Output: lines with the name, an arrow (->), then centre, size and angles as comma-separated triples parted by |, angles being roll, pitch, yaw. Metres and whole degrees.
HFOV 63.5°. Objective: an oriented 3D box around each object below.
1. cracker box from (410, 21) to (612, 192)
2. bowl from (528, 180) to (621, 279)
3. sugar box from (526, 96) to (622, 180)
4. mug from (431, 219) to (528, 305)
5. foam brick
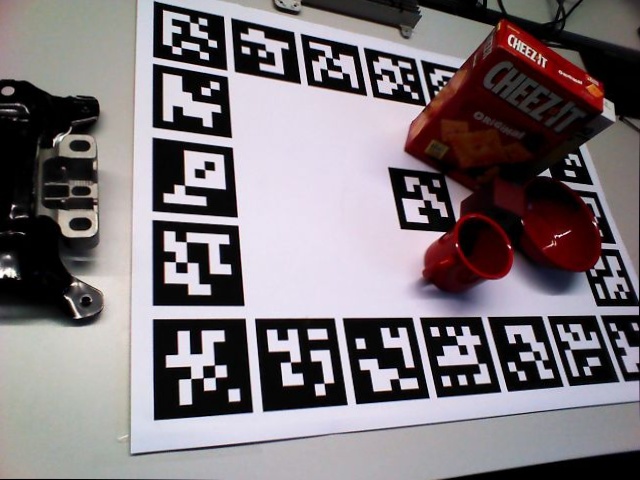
cracker box -> 0.256, -0.164, 0.724 | 0.164, 0.215, 0.071 | 30, 54, -10
bowl -> 0.373, -0.009, 0.784 | 0.161, 0.055, 0.161 | 10, 63, -21
sugar box -> 0.349, -0.163, 0.788 | 0.093, 0.178, 0.045 | 23, 58, -13
mug -> 0.196, 0.034, 0.673 | 0.117, 0.082, 0.093 | -7, 61, -26
foam brick -> 0.255, -0.042, 0.750 | 0.053, 0.078, 0.051 | 17, 59, -16
